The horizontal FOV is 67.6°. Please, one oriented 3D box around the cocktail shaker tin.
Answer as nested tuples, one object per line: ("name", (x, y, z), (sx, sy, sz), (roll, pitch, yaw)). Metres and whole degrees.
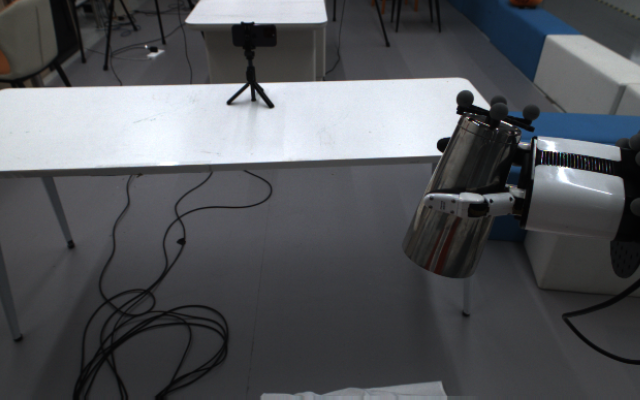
("cocktail shaker tin", (0.166, -0.010, 0.551), (0.093, 0.170, 0.093), (12, 24, -5))
